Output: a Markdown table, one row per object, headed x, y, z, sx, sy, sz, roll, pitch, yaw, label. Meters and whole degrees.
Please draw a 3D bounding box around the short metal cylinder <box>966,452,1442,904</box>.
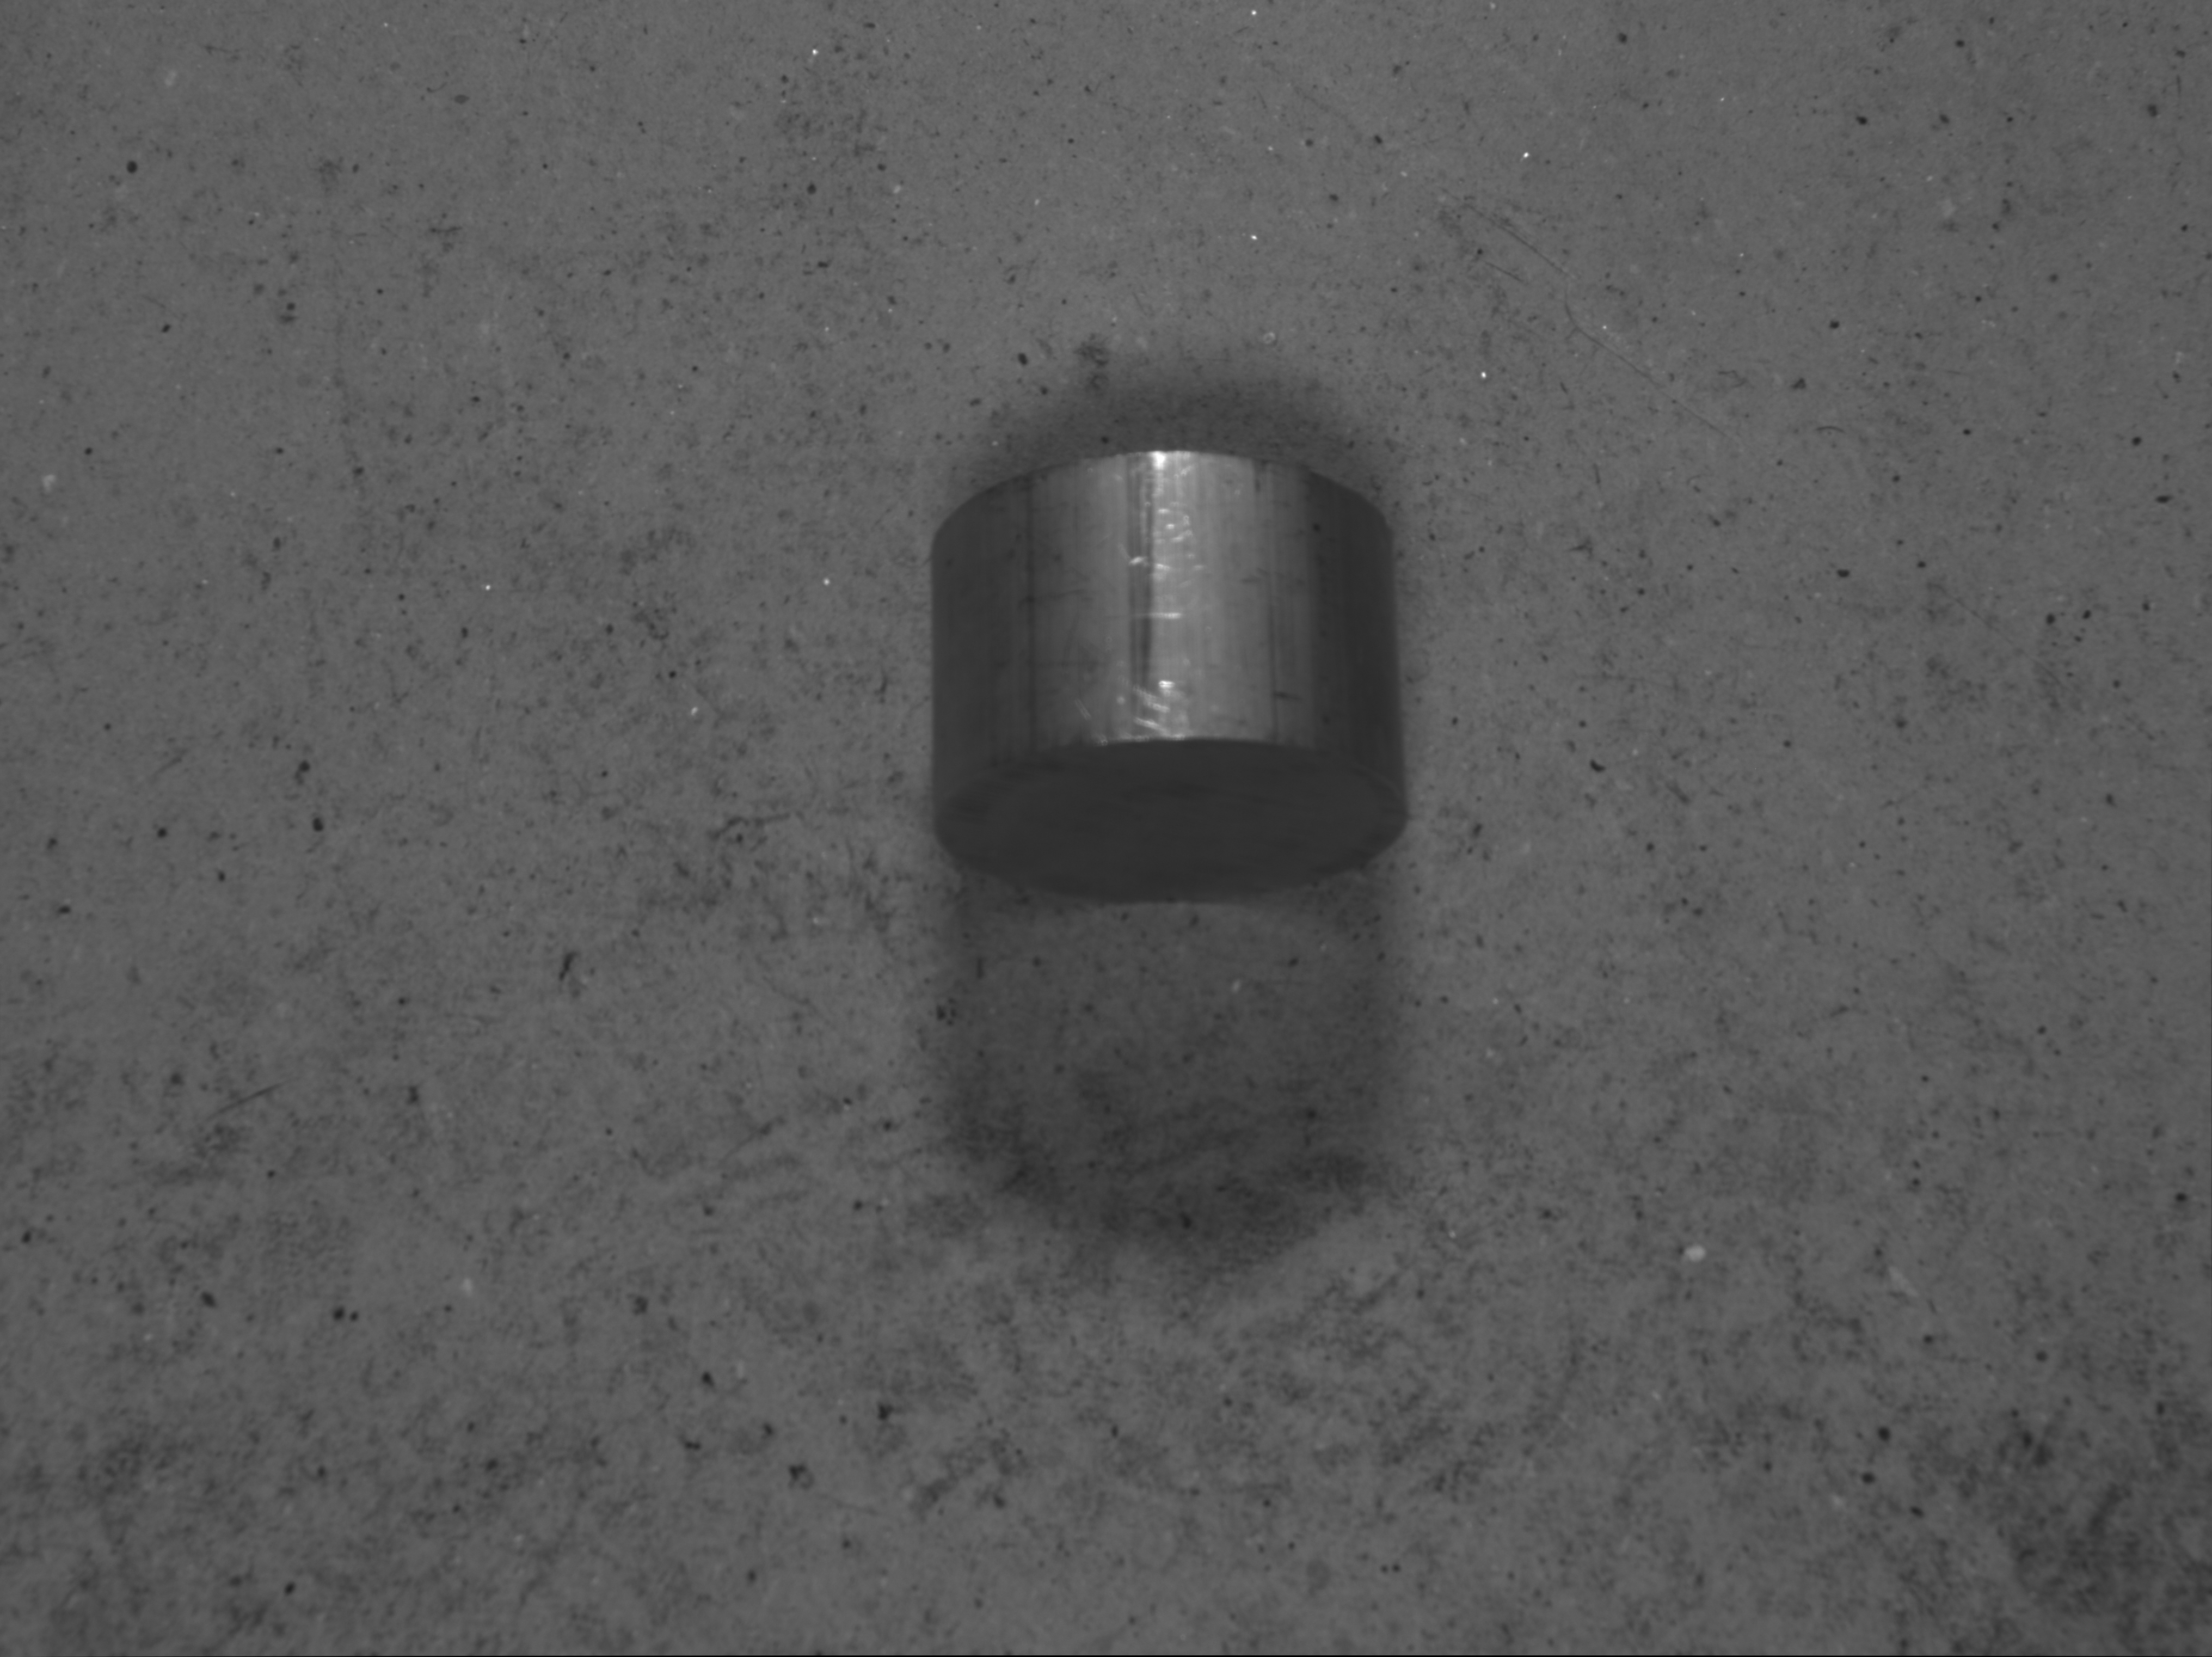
| x | y | z | sx | sy | sz | roll | pitch | yaw | label |
| --- | --- | --- | --- | --- | --- | --- | --- | --- | --- |
| 0.016 | -0.024 | 0.625 | 0.080 | 0.080 | 0.050 | -1 | 70 | 0 | short metal cylinder |
